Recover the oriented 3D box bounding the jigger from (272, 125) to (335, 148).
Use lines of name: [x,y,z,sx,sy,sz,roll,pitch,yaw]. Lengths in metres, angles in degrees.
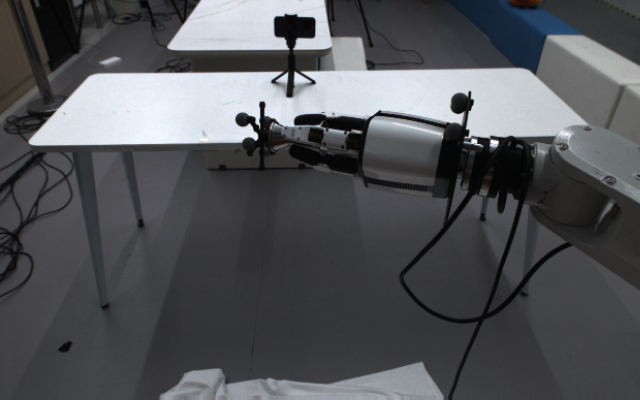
jigger: [-0.019,-0.084,0.614,0.071,0.043,0.043,3,34,17]
